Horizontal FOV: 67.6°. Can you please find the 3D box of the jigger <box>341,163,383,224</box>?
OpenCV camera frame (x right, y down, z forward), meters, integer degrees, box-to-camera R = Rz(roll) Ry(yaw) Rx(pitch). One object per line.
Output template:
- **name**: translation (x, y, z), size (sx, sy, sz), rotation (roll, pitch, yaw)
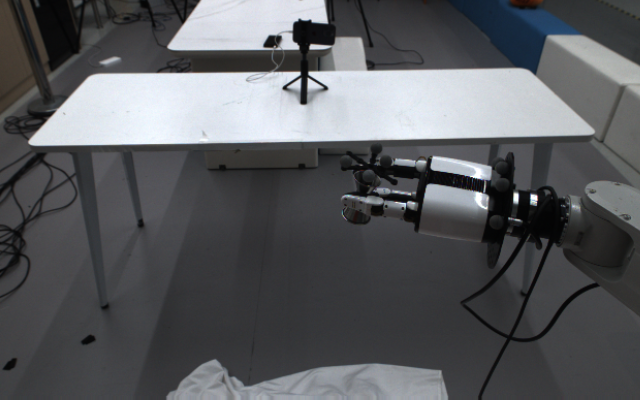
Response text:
- **jigger**: translation (0.059, -0.004, 0.695), size (0.043, 0.071, 0.043), rotation (10, 36, -7)
